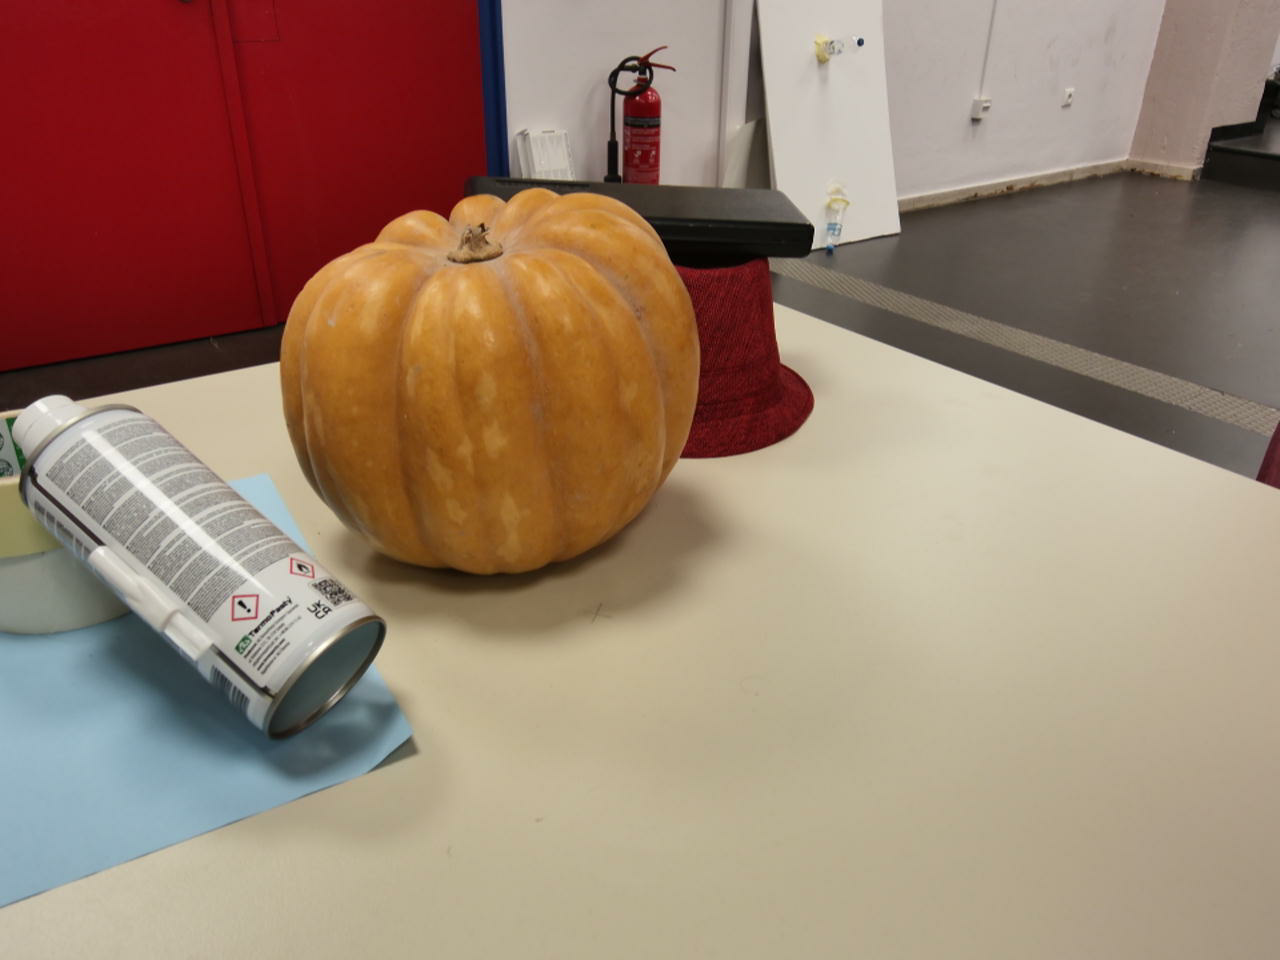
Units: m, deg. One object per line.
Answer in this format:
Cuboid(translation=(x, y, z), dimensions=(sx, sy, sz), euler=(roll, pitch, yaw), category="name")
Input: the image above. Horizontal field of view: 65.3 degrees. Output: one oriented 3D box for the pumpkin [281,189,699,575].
Cuboid(translation=(-0.077, -0.054, 0.553), dimensions=(0.230, 0.194, 0.230), euler=(1, 26, 0), category="pumpkin")
